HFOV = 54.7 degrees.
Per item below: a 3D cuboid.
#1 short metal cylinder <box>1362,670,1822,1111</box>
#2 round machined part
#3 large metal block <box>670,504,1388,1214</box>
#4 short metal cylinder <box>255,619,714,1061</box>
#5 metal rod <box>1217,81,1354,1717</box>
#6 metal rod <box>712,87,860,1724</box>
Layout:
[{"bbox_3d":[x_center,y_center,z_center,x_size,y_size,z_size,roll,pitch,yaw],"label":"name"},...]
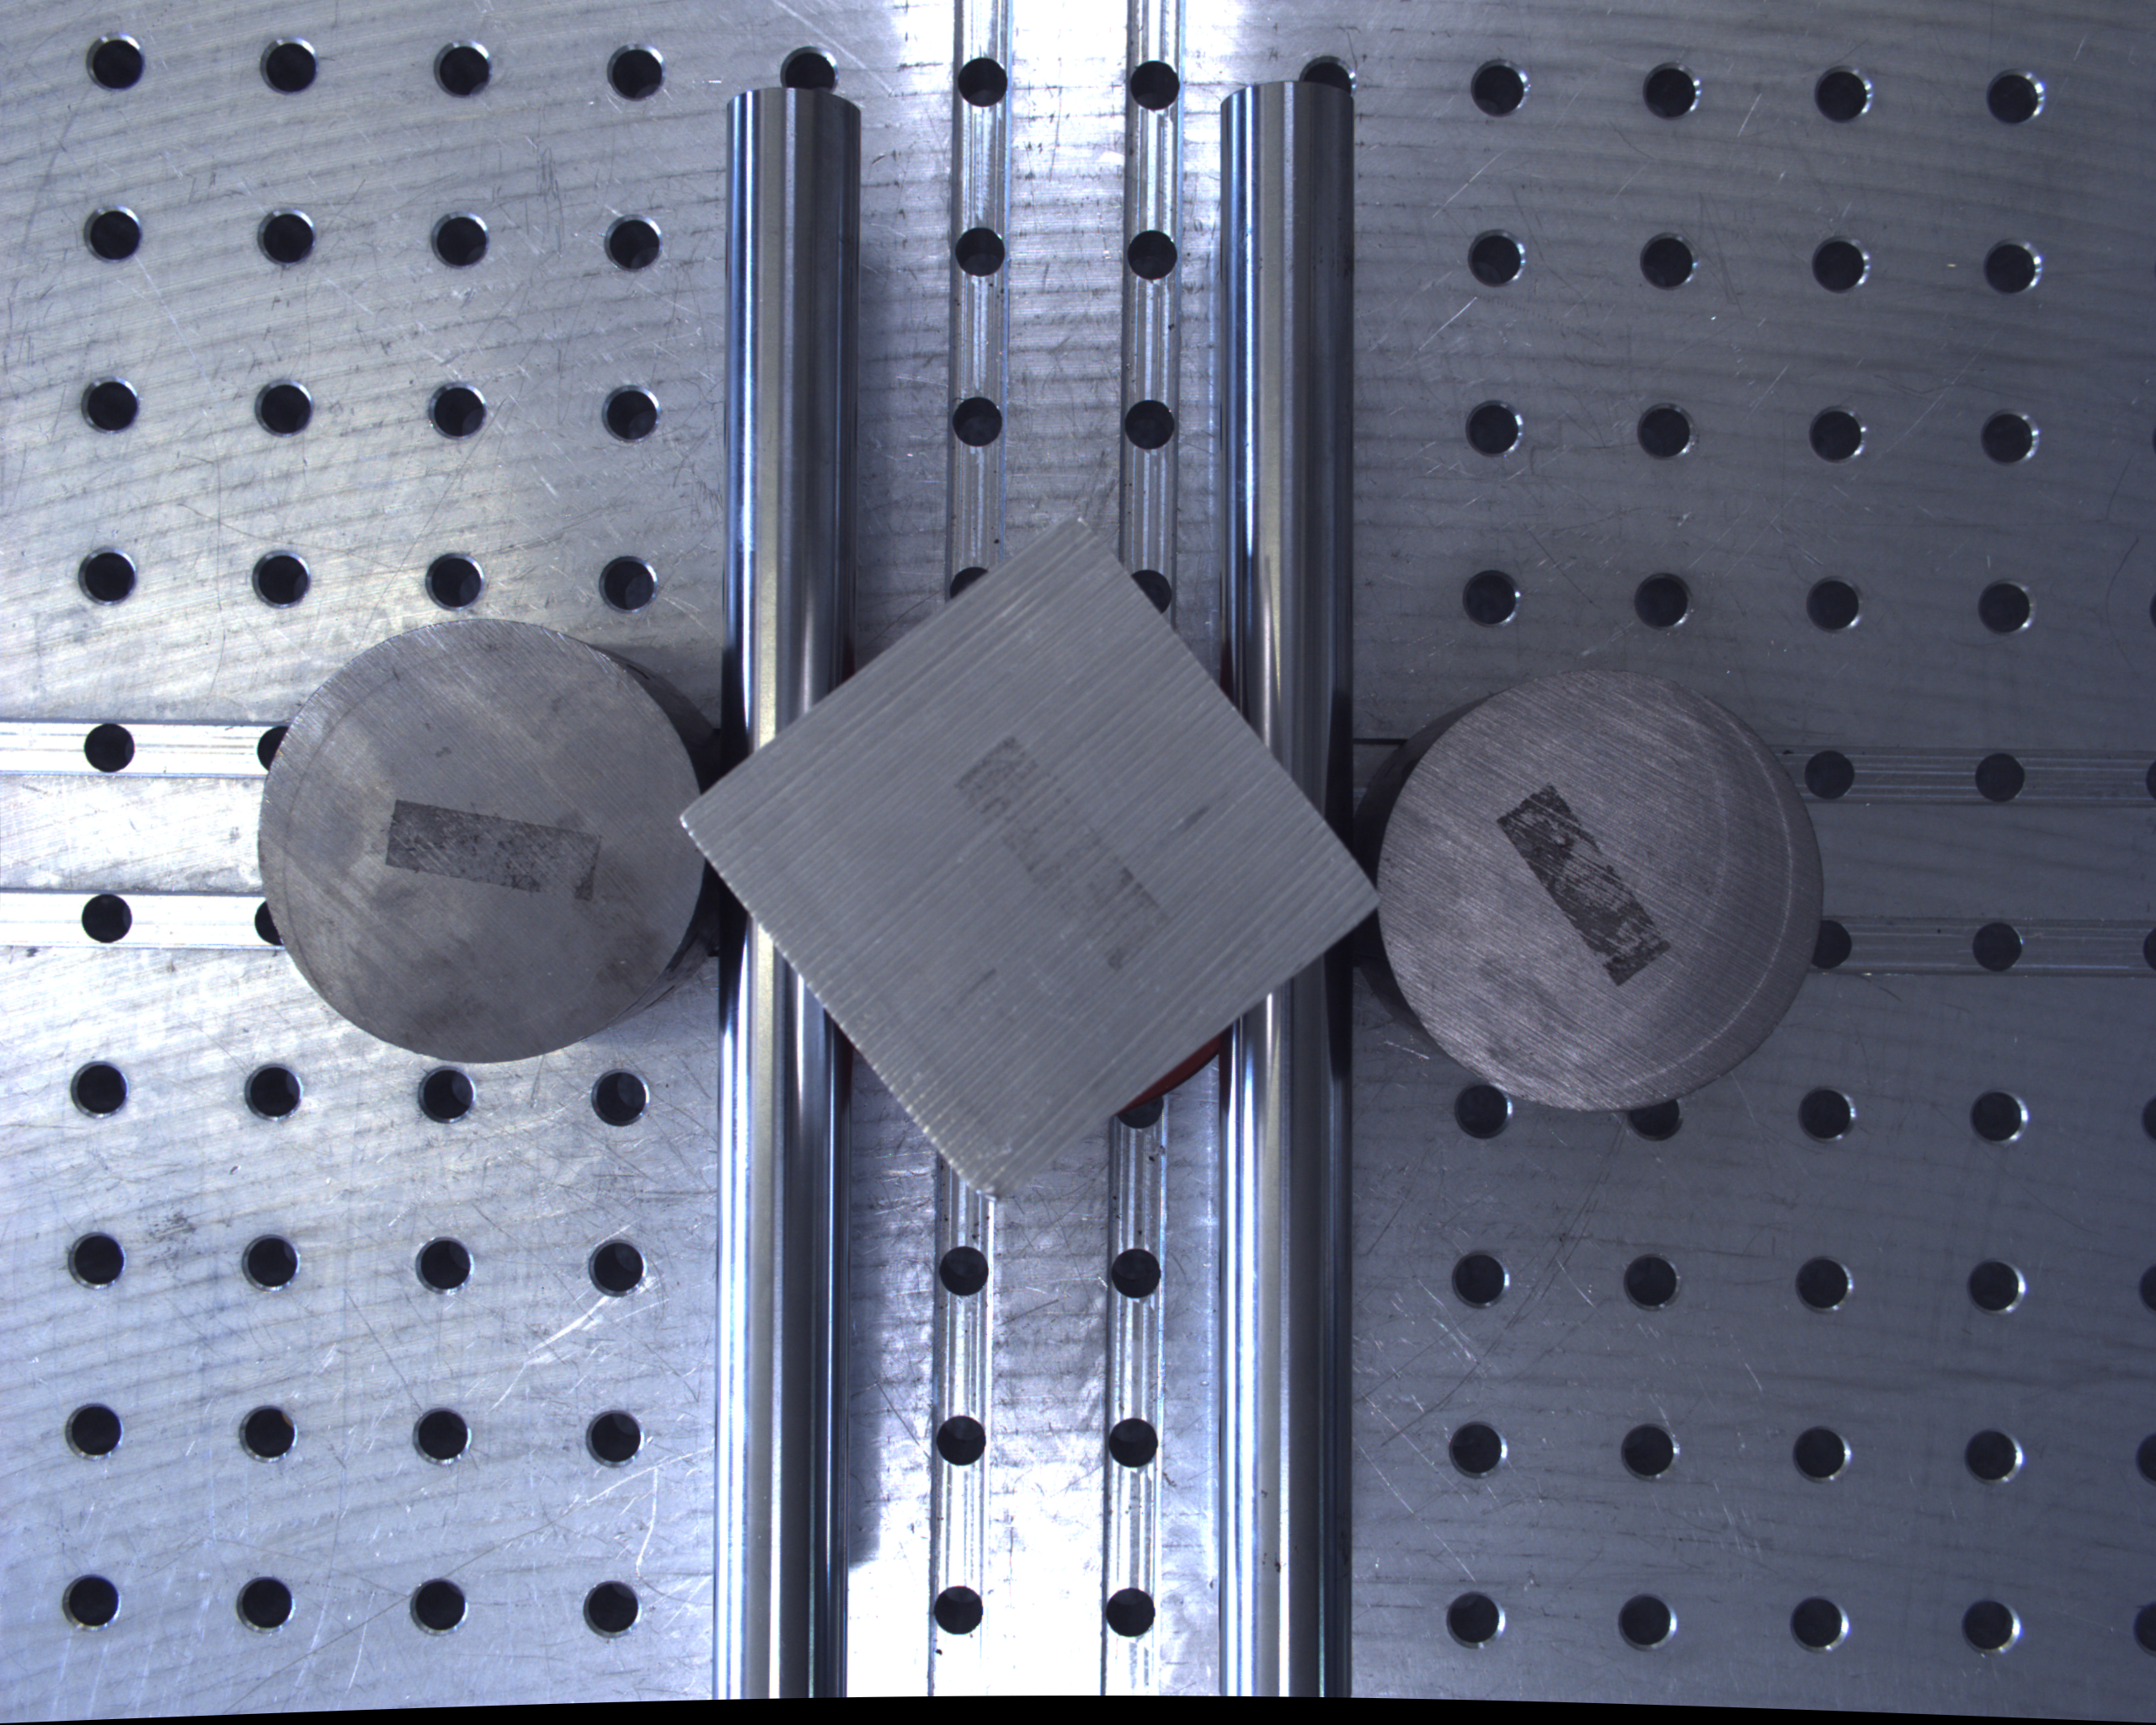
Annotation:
[{"bbox_3d":[0.094,0.005,0.401,0.081,0.050,0.080,0,90,0],"label":"short metal cylinder"},{"bbox_3d":[-0.008,0.003,0.405,0.099,0.042,0.097,0,90,0],"label":"round machined part"},{"bbox_3d":[-0.008,-0.001,0.353,0.080,0.050,0.080,-38,90,0],"label":"large metal block"},{"bbox_3d":[-0.108,-0.004,0.400,0.081,0.050,0.080,0,90,0],"label":"short metal cylinder"},{"bbox_3d":[0.039,0.007,0.392,0.025,0.025,0.298,0,90,0],"label":"metal rod"},{"bbox_3d":[-0.055,0.008,0.392,0.025,0.025,0.298,0,90,0],"label":"metal rod"}]
